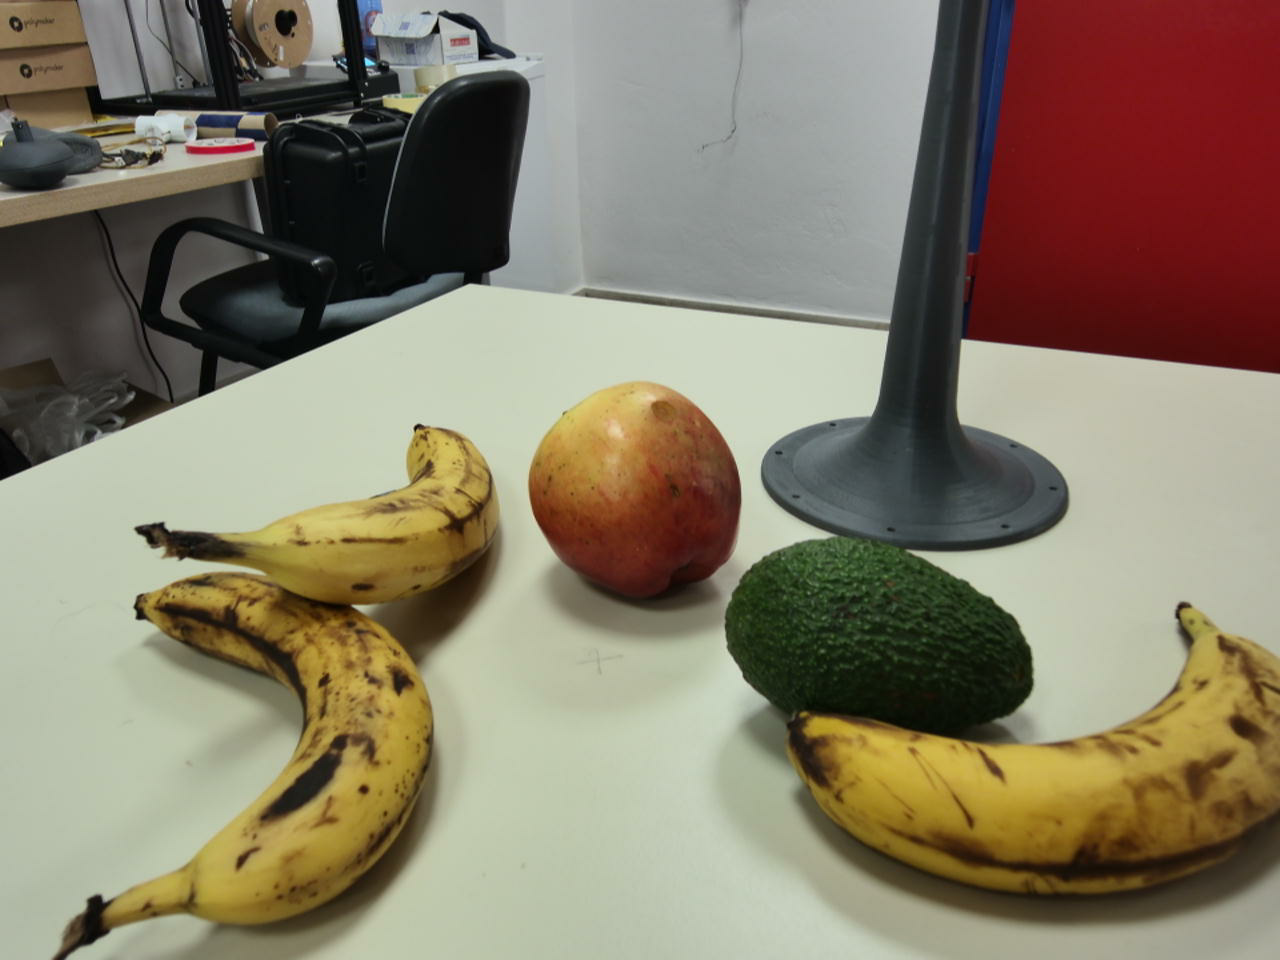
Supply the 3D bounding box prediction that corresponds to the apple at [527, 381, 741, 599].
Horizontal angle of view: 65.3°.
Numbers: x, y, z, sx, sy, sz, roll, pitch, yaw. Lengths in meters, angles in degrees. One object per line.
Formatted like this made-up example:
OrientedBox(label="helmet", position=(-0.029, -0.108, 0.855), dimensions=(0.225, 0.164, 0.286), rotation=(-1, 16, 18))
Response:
OrientedBox(label="apple", position=(-0.003, 0.003, 0.416), dimensions=(0.086, 0.084, 0.093), rotation=(-5, 24, -9))
